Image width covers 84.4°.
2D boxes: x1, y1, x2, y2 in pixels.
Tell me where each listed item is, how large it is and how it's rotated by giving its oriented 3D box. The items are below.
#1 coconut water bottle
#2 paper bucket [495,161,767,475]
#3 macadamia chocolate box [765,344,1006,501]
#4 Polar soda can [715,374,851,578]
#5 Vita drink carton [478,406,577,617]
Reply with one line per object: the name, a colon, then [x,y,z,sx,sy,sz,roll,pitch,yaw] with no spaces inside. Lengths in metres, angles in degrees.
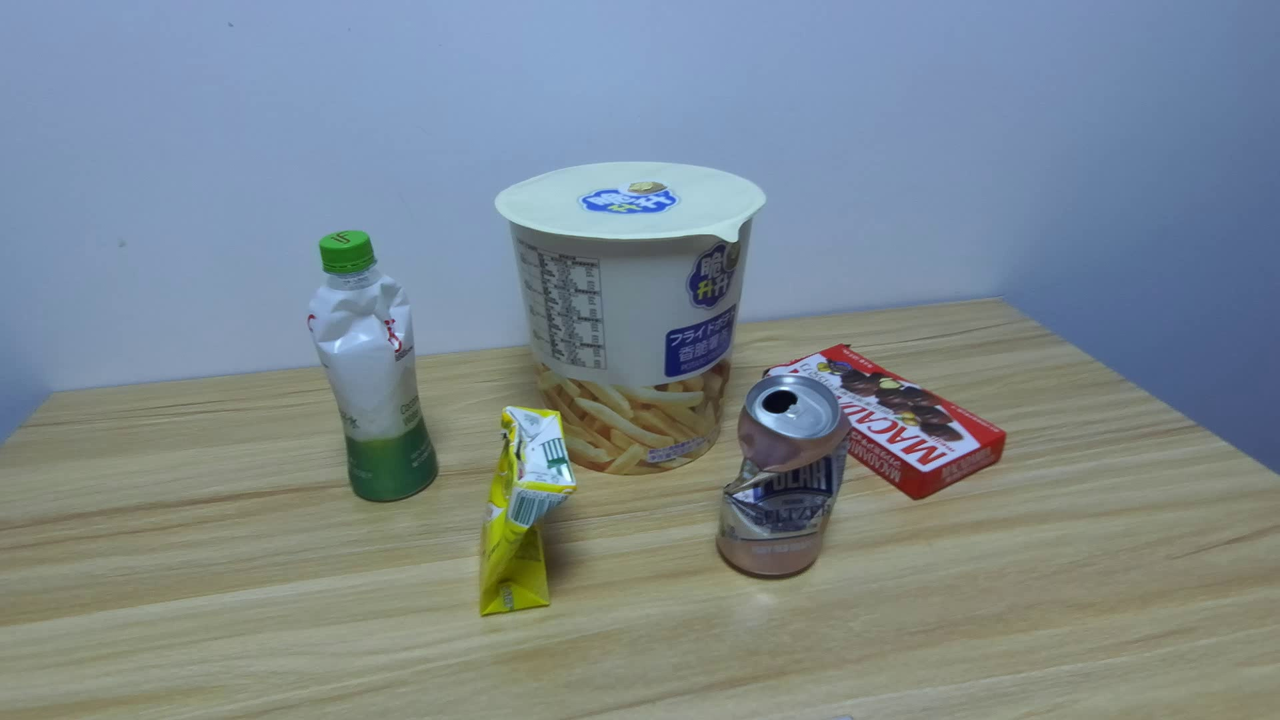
coconut water bottle: [-0.186,0.006,0.485,0.069,0.186,0.069,-1,30,1]
paper bucket: [-0.004,-0.034,0.547,0.198,0.195,0.198,-1,30,1]
macadamia chocolate box: [0.194,0.040,0.587,0.106,0.028,0.182,-16,32,-26]
Polar soda can: [0.085,0.075,0.431,0.066,0.122,0.071,22,37,27]
Vita drink carton: [-0.068,0.090,0.422,0.042,0.108,0.087,8,29,-15]
